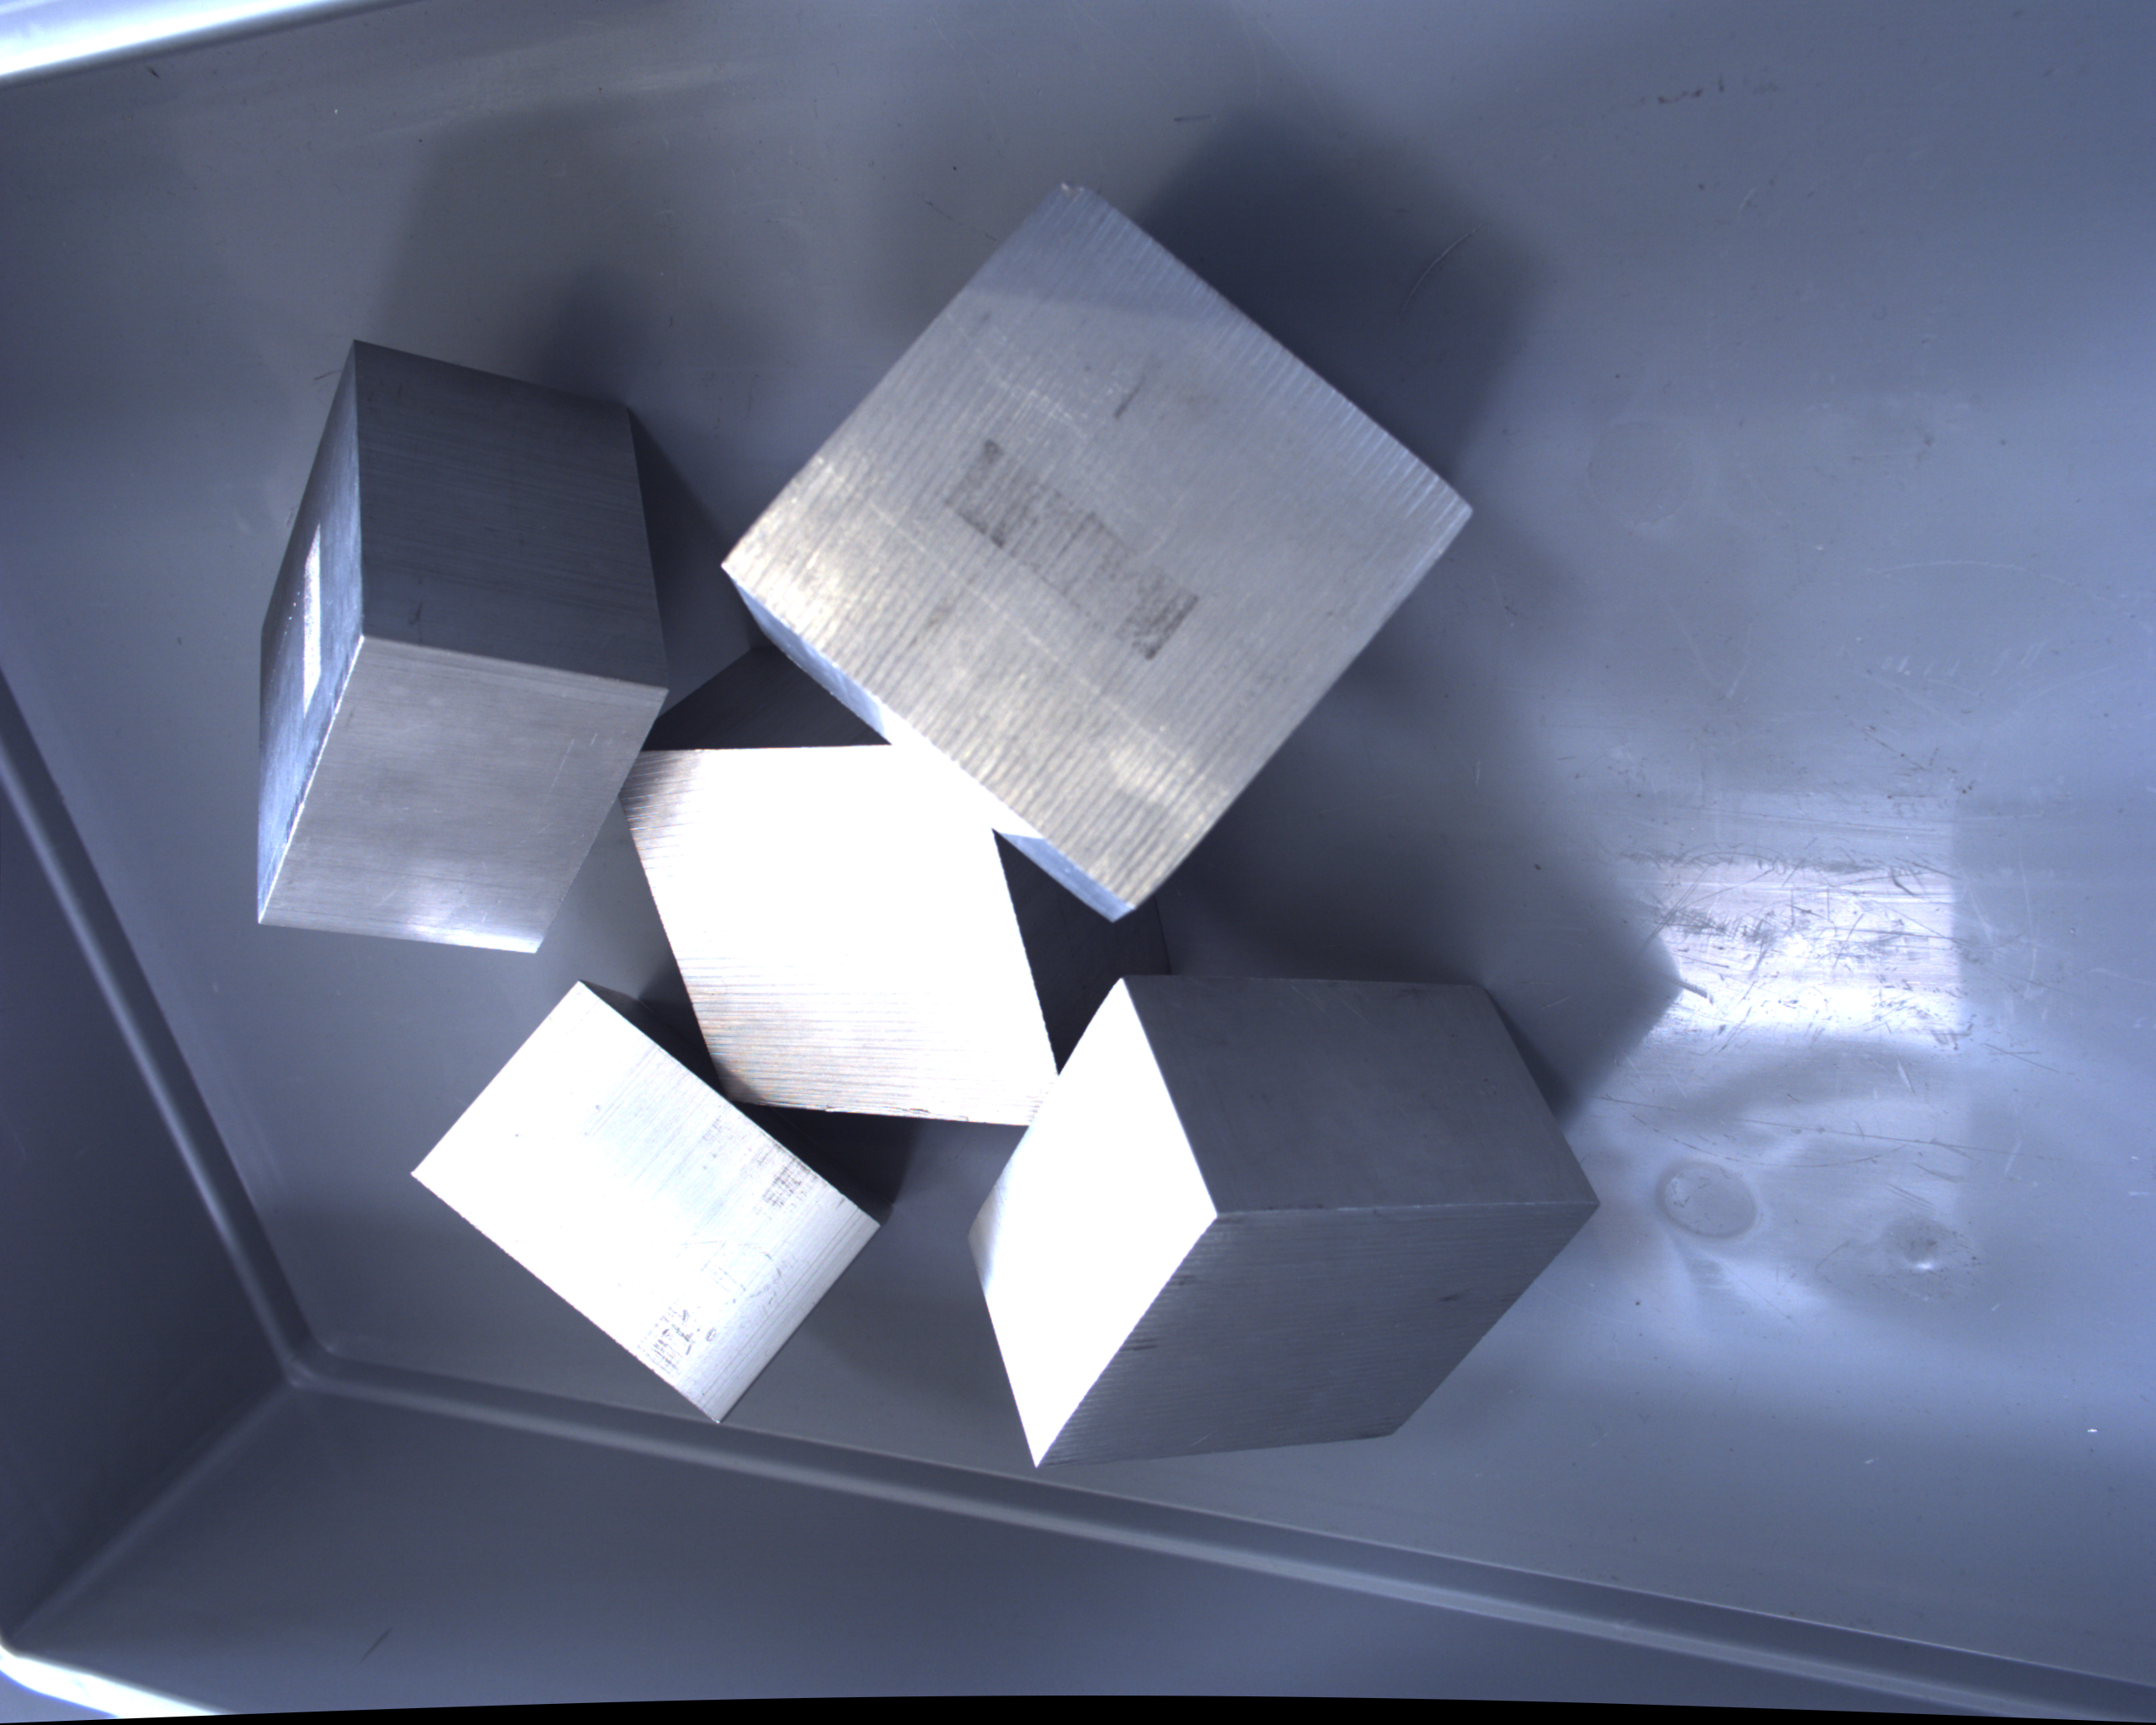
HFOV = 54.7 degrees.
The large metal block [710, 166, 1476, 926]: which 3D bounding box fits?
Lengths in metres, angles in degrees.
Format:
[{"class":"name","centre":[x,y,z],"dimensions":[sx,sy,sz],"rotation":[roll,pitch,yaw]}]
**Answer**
[{"class":"large metal block","centre":[0.002,-0.047,0.334],"dimensions":[0.080,0.050,0.080],"rotation":[40,86,1]}]

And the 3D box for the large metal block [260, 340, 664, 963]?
[{"class":"large metal block","centre":[-0.122,-0.039,0.401],"dimensions":[0.050,0.080,0.080],"rotation":[8,136,-30]}]

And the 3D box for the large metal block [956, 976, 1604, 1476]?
[{"class":"large metal block","centre":[0.034,0.067,0.386],"dimensions":[0.081,0.050,0.079],"rotation":[3,134,-28]}]

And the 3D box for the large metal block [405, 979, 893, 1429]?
[{"class":"large metal block","centre":[-0.088,0.072,0.455],"dimensions":[0.080,0.050,0.080],"rotation":[39,173,1]}]

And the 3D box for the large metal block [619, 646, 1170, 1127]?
[{"class":"large metal block","centre":[-0.035,0.003,0.409],"dimensions":[0.080,0.050,0.080],"rotation":[1,119,28]}]
